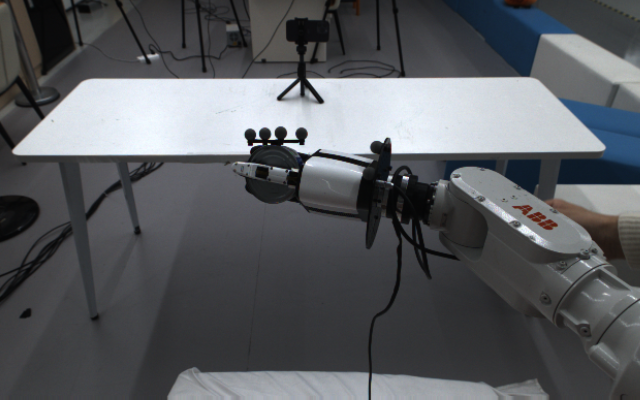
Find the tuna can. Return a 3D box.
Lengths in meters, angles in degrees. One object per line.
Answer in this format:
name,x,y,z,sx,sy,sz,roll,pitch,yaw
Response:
tuna can,-0.065,-0.038,0.713,0.085,0.085,0.034,12,6,14
